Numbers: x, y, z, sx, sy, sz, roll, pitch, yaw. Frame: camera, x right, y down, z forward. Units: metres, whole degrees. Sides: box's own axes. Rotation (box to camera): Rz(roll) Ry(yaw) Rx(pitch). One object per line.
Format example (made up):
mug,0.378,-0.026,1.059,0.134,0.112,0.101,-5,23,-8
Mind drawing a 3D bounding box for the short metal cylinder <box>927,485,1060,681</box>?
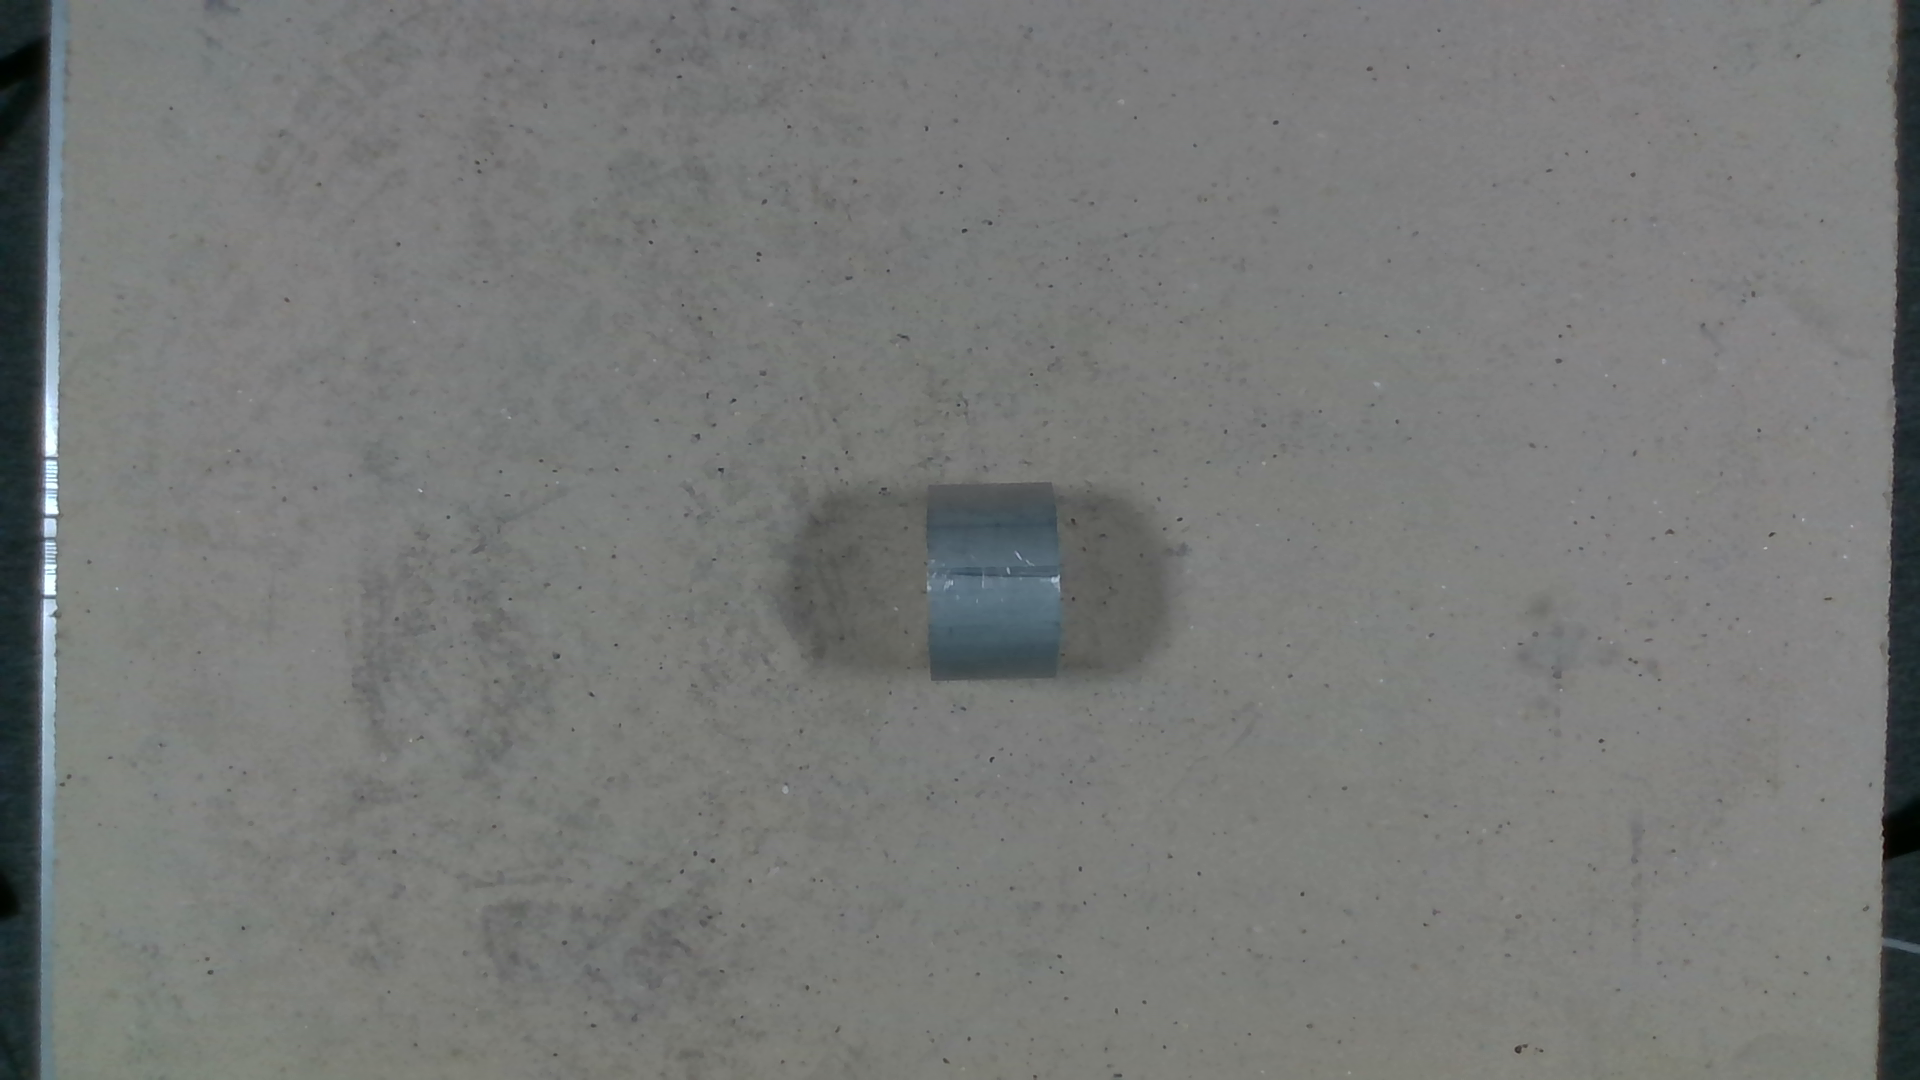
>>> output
short metal cylinder,0.013,0.017,0.560,0.050,0.080,0.080,-1,90,0
